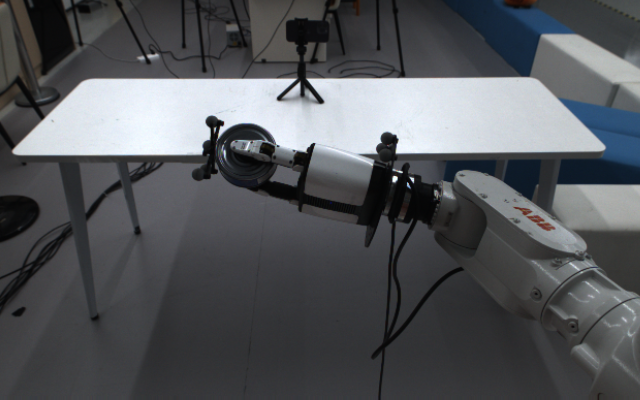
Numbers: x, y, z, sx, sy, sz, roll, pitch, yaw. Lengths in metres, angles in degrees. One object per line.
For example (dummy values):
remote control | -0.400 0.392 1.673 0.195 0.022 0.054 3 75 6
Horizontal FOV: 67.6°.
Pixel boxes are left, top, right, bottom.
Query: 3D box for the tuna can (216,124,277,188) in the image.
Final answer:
tuna can | -0.100 -0.062 0.671 0.085 0.034 0.085 1 74 -5
